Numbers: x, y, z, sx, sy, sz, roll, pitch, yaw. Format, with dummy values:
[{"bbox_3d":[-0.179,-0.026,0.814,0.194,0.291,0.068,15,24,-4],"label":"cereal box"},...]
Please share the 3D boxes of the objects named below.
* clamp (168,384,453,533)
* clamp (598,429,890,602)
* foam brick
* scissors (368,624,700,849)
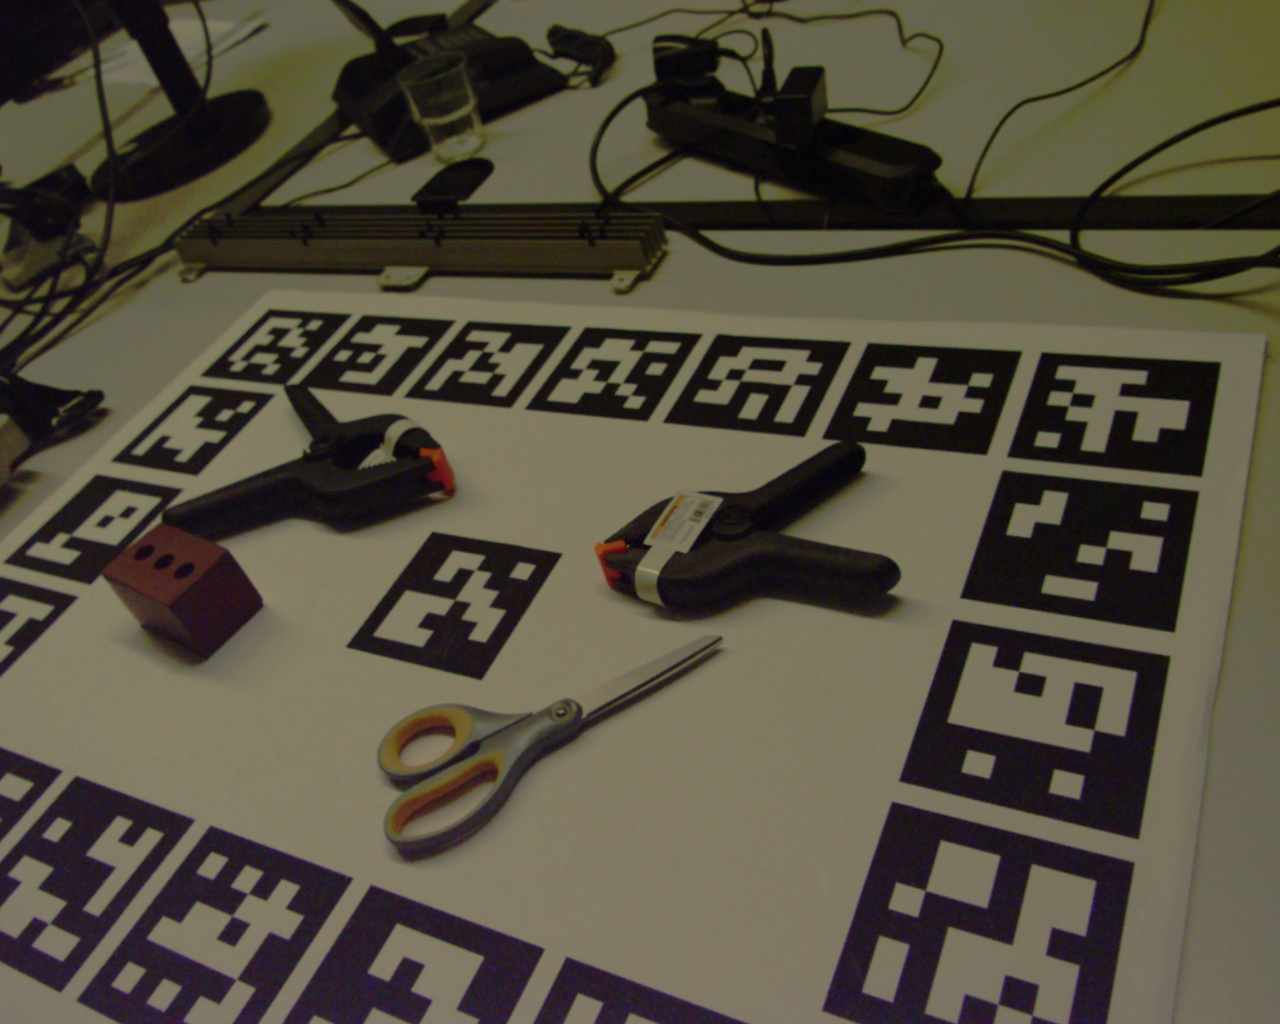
[{"bbox_3d":[-0.229,-0.037,0.849,0.205,0.036,0.165,5,45,25],"label":"clamp"},{"bbox_3d":[0.057,0.013,0.691,0.166,0.036,0.122,-13,49,9],"label":"clamp"},{"bbox_3d":[-0.300,0.054,0.775,0.079,0.051,0.052,12,52,36],"label":"foam brick"},{"bbox_3d":[-0.056,0.109,0.639,0.202,0.016,0.089,-27,50,-10],"label":"scissors"}]
